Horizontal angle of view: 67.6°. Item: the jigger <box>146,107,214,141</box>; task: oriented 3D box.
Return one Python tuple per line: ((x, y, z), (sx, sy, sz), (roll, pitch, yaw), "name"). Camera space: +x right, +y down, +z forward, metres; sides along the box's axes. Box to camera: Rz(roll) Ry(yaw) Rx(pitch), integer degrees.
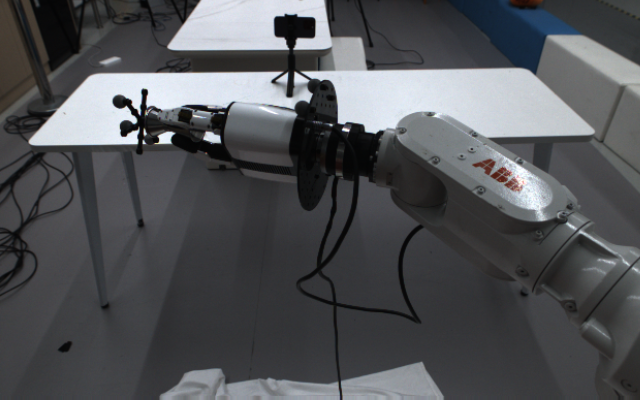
((-0.189, -0.106, 0.647), (0.071, 0.043, 0.043), (5, 34, 14), "jigger")
